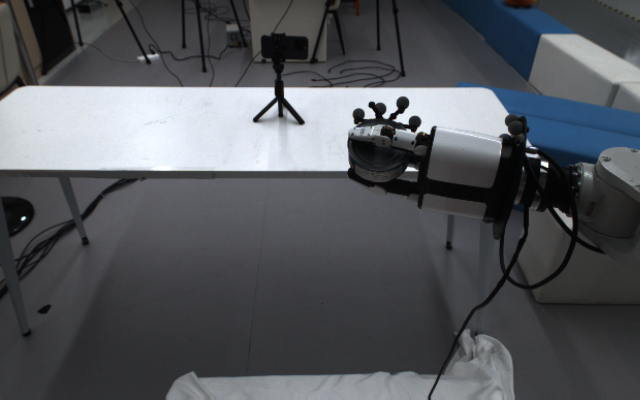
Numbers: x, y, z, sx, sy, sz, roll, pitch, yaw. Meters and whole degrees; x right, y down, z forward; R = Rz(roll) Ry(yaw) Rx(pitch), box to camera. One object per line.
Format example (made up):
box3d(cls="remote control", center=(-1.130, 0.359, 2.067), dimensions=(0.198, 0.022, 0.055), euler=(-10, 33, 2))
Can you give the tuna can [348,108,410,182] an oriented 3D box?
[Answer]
box3d(cls="tuna can", center=(0.080, -0.072, 0.653), dimensions=(0.085, 0.034, 0.085), euler=(-2, 56, 3))
